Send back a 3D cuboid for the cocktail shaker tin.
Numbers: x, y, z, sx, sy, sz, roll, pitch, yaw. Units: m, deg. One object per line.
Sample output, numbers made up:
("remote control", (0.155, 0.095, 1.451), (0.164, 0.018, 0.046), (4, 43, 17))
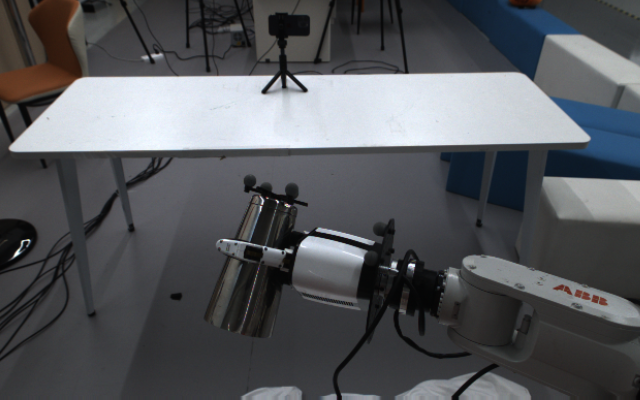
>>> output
("cocktail shaker tin", (-0.085, 0.084, 0.640), (0.093, 0.170, 0.093), (16, -6, 2))
